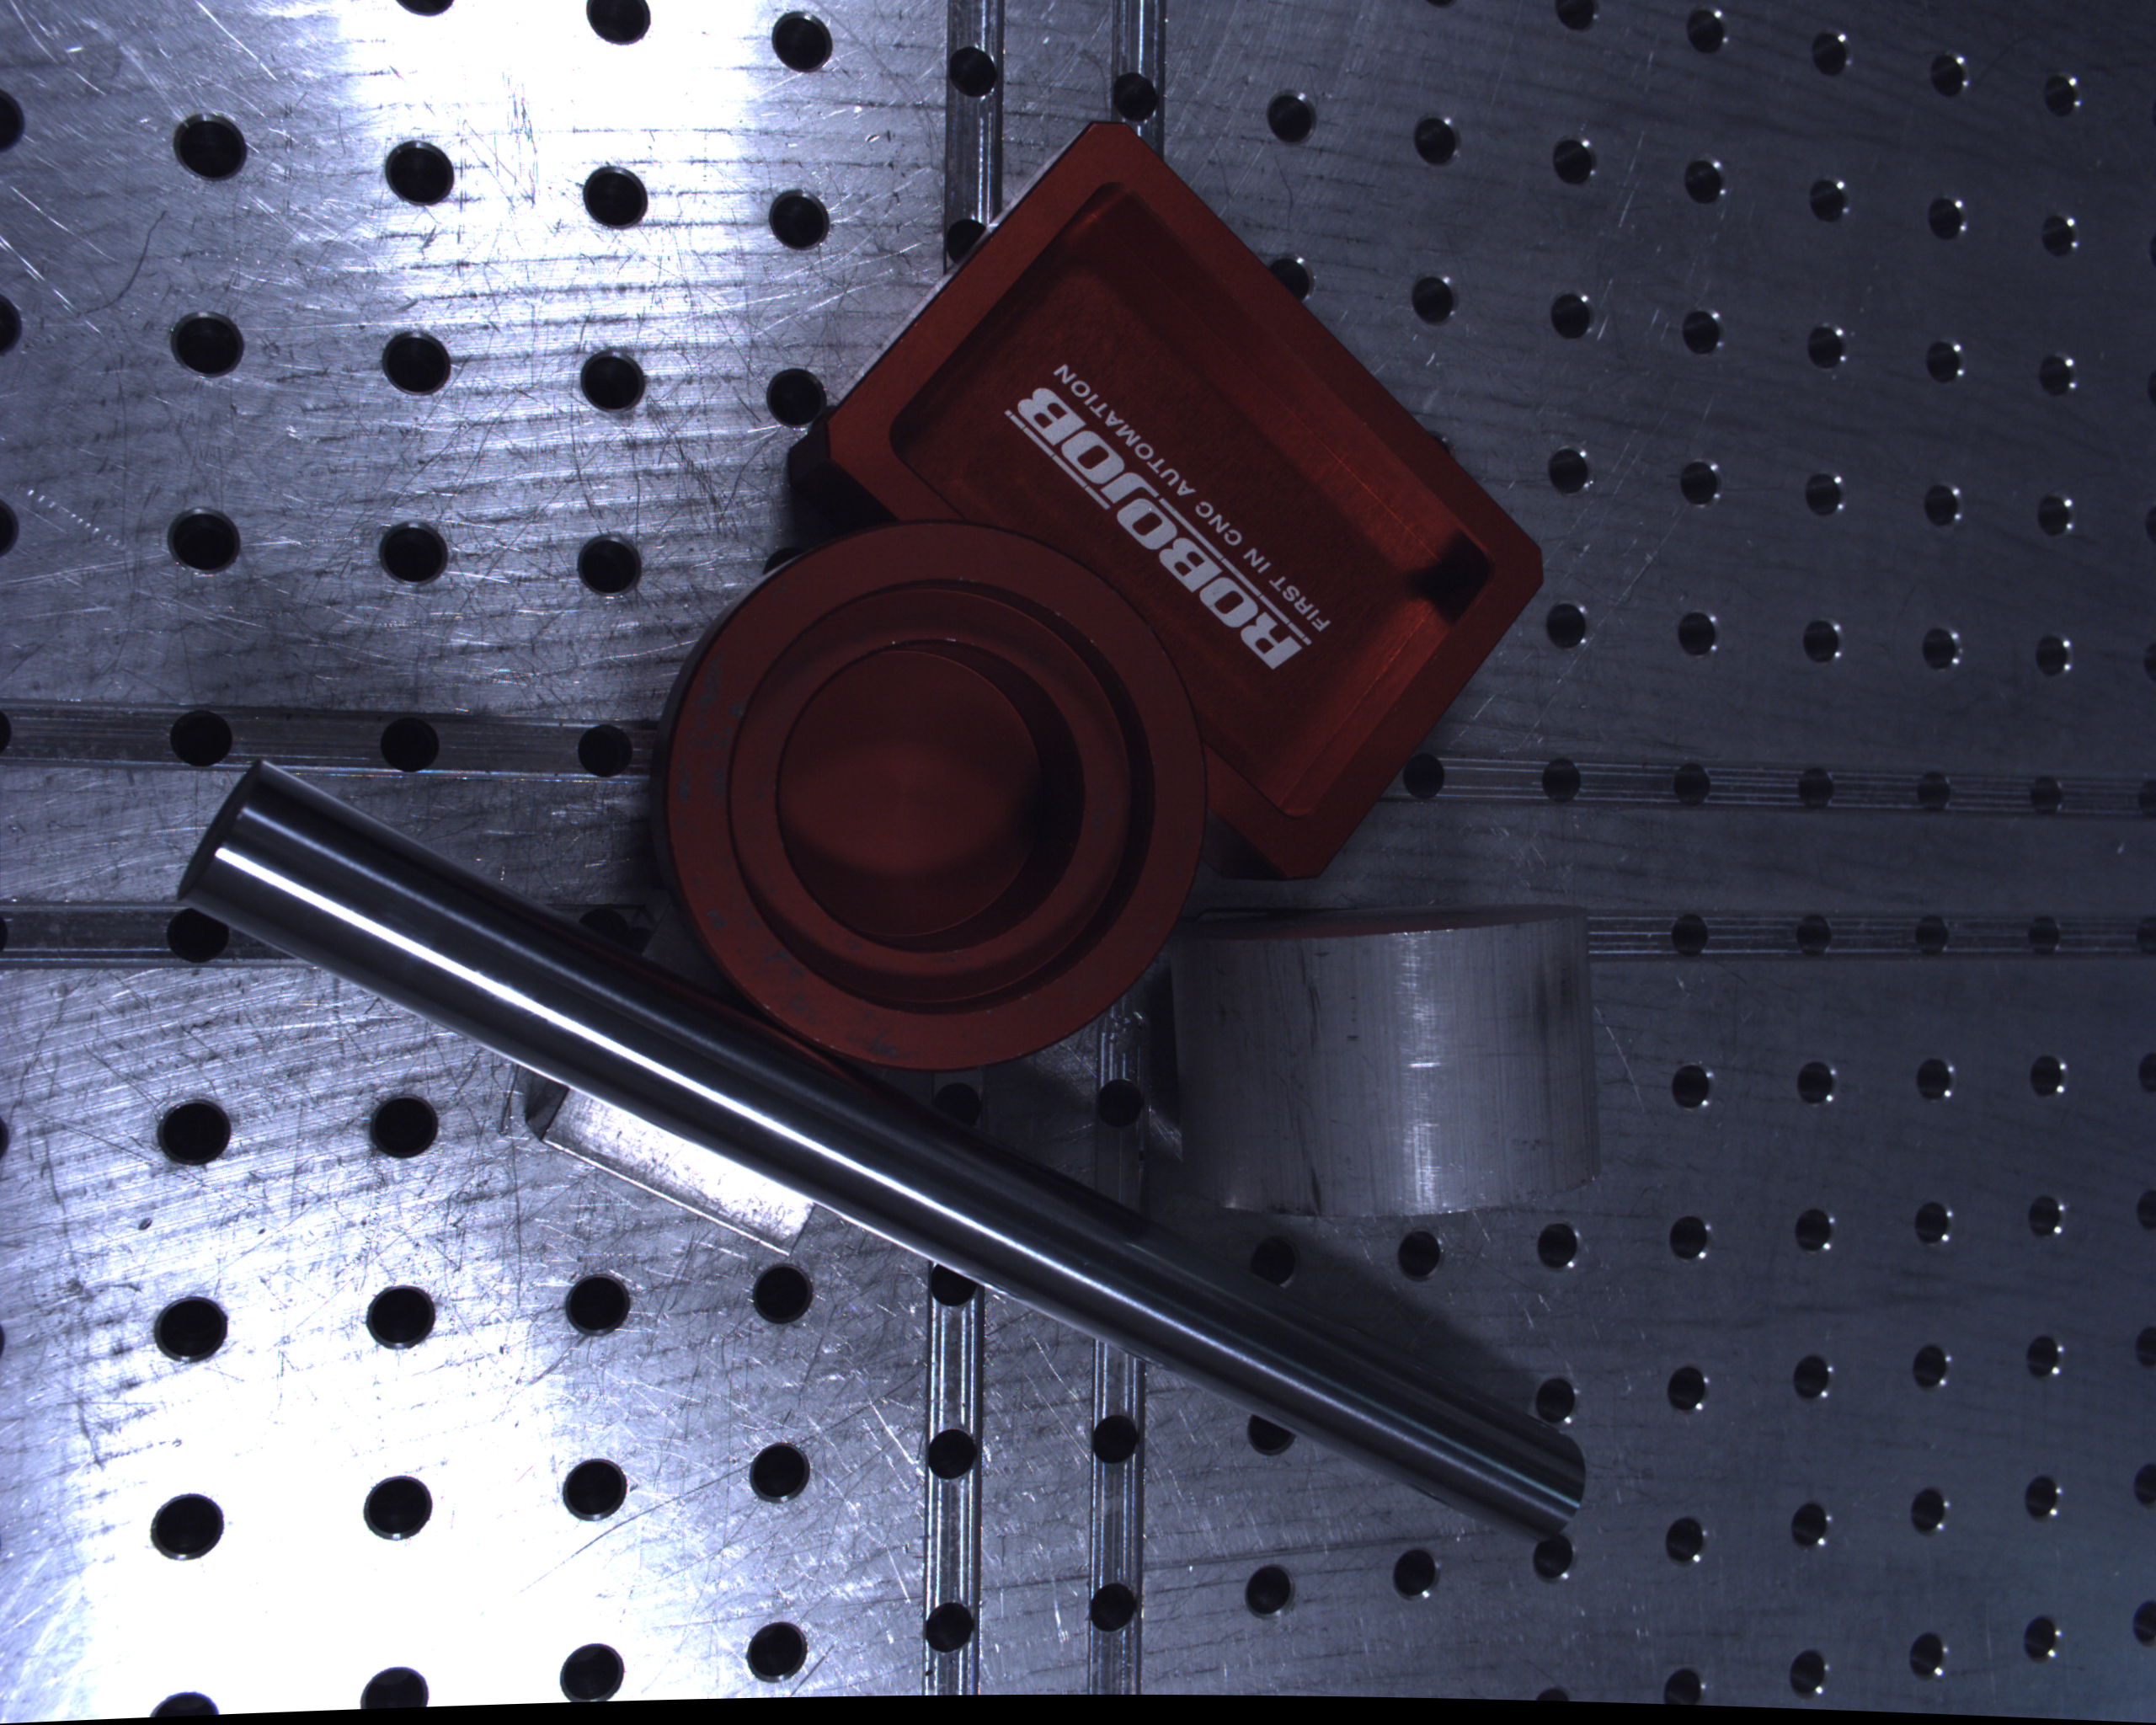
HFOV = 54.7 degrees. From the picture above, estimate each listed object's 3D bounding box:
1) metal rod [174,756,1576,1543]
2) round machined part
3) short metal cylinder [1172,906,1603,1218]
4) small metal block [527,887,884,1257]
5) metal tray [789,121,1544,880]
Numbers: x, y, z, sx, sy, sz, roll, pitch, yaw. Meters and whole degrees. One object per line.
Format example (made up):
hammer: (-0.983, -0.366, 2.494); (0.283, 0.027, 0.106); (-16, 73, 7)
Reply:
metal rod: (-0.017, 0.065, 0.386); (0.301, 0.025, 0.025); (32, 80, -26)
round machined part: (-0.029, -0.013, 0.385); (0.099, 0.042, 0.097); (0, 90, -18)
short metal cylinder: (0.059, 0.036, 0.405); (0.081, 0.080, 0.050); (-4, 92, -20)
small metal block: (-0.067, 0.038, 0.389); (0.050, 0.025, 0.050); (30, 80, -18)
metal tray: (0.020, -0.069, 0.418); (0.130, 0.030, 0.090); (42, 76, -15)
